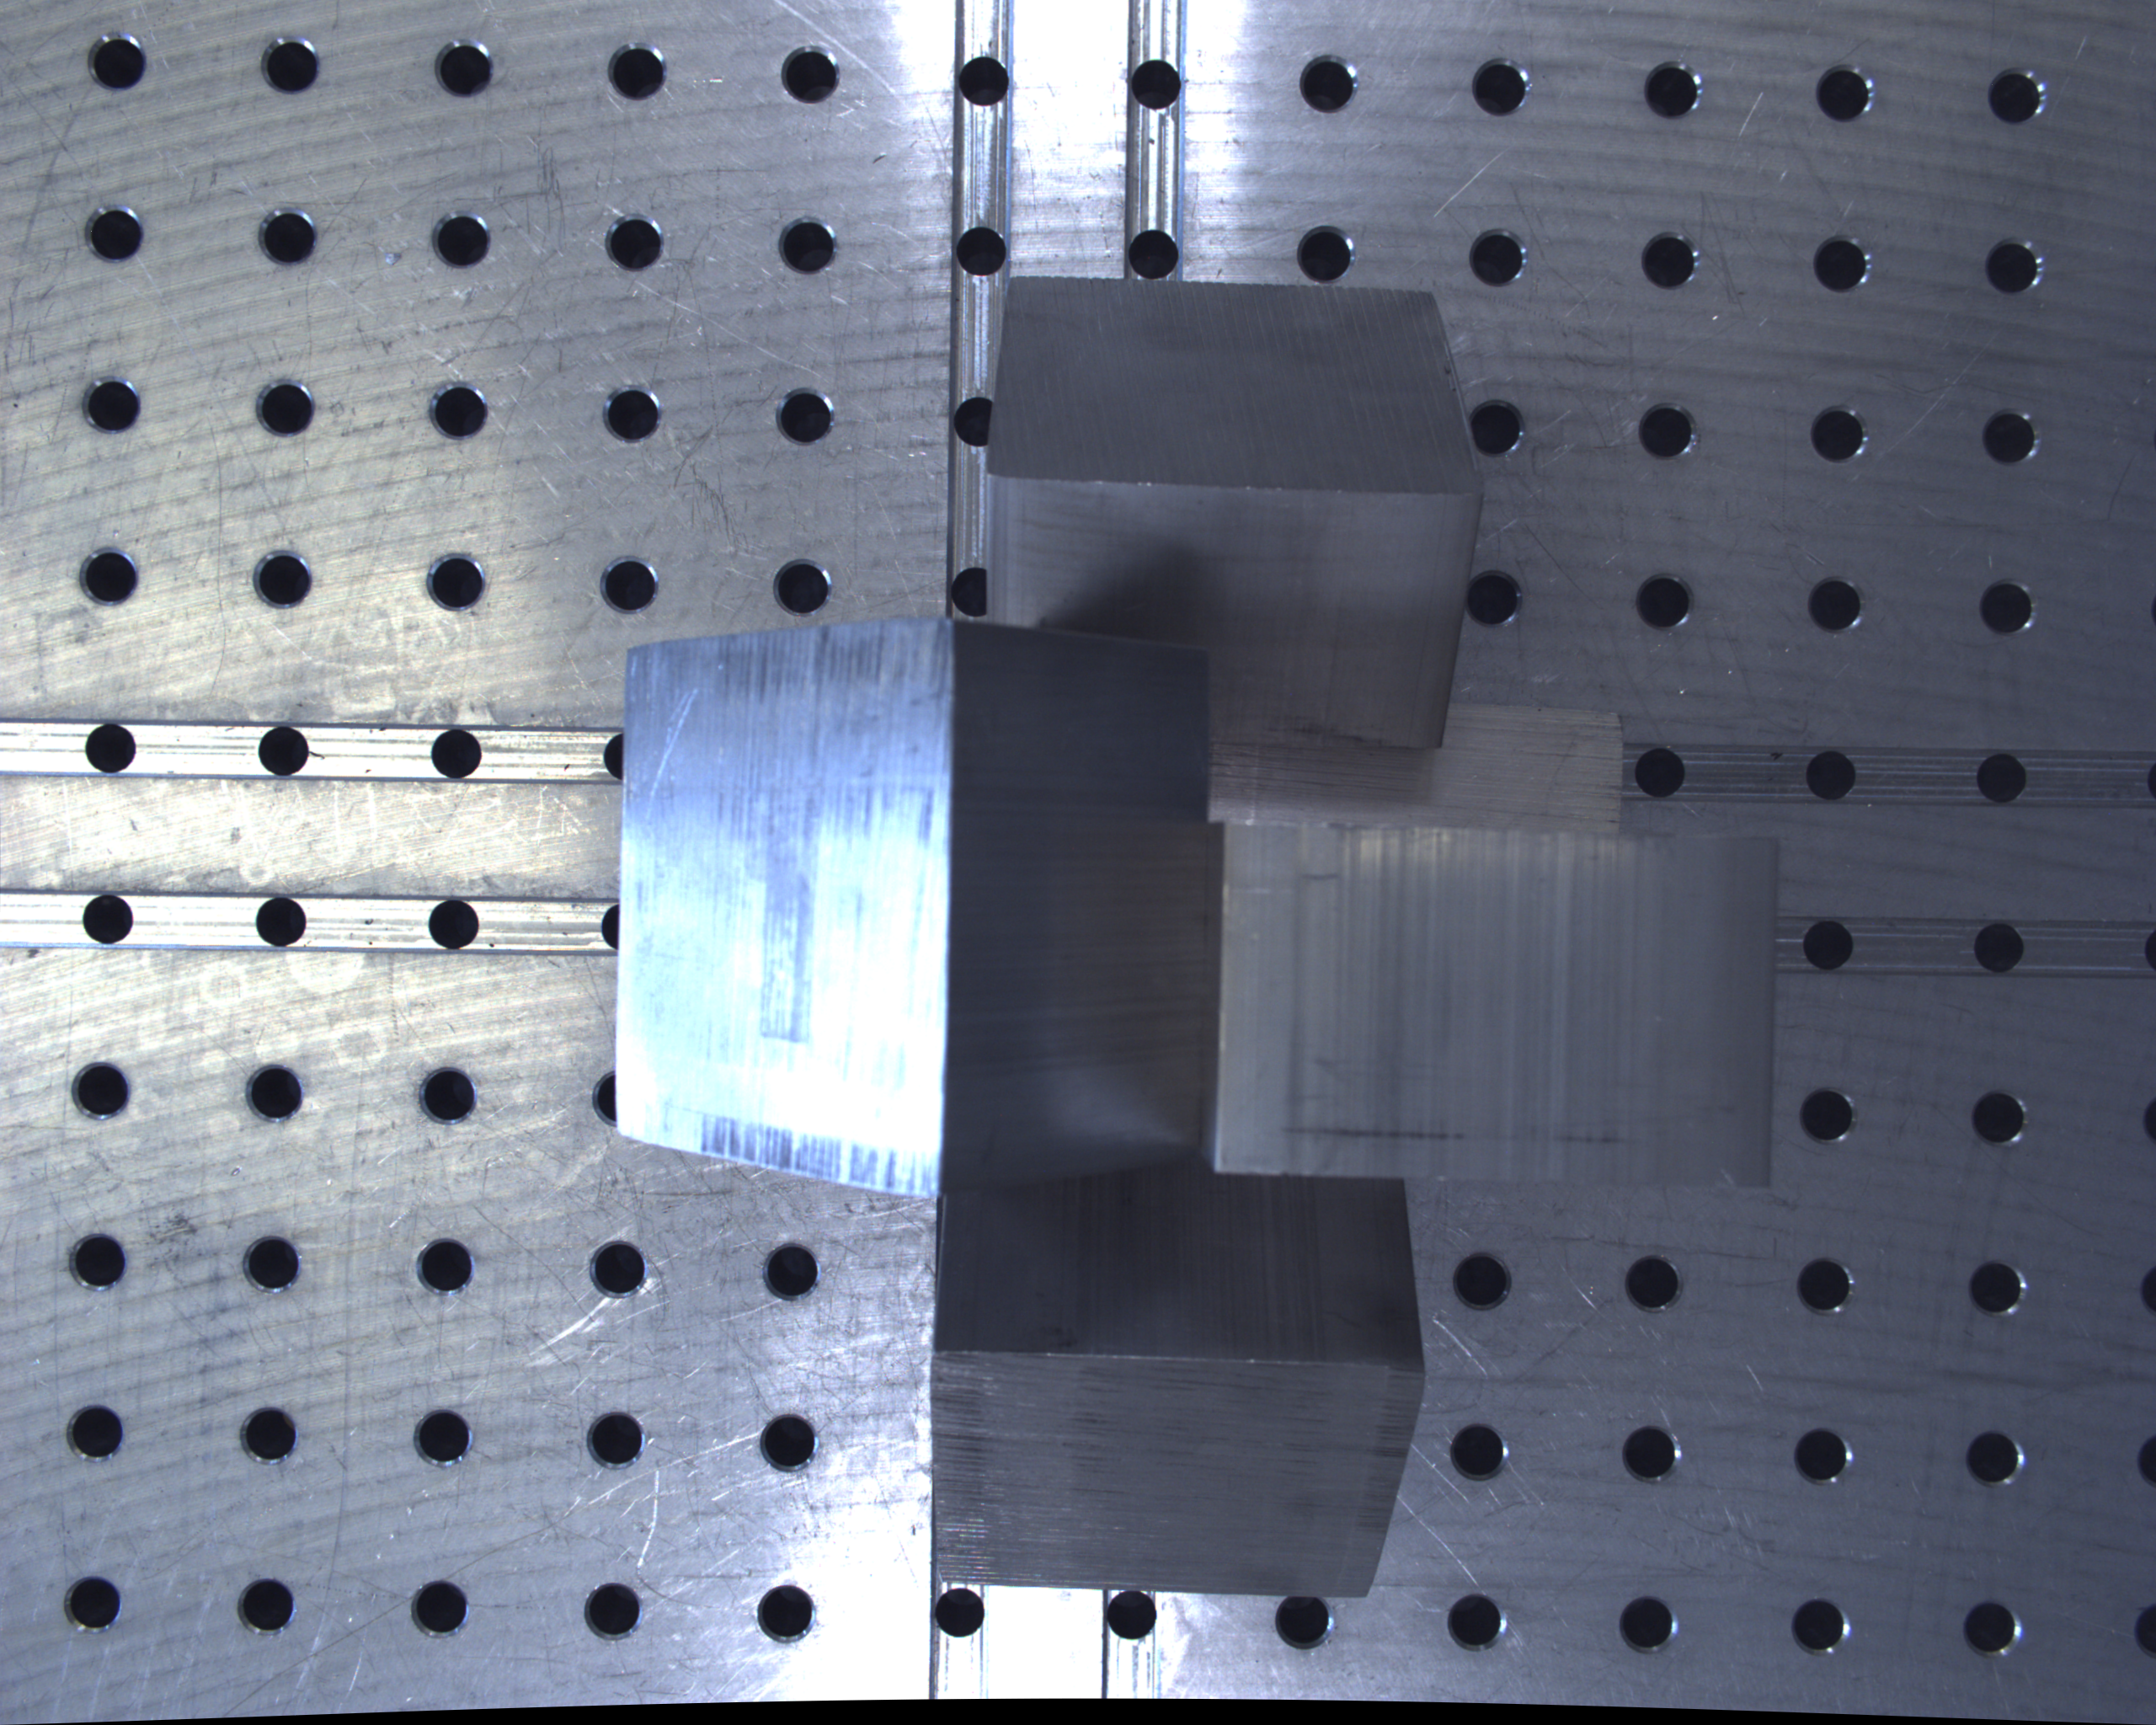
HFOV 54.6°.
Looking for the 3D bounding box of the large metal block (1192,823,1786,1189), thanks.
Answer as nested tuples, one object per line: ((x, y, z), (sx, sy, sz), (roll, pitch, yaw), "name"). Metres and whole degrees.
((0.060, 0.020, 0.336), (0.080, 0.080, 0.050), (2, 90, 0), "large metal block")

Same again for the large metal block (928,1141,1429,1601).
((0.016, 0.091, 0.380), (0.080, 0.050, 0.080), (2, 135, 0), "large metal block")

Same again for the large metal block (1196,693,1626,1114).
((0.057, 0.011, 0.401), (0.080, 0.050, 0.080), (3, 90, 0), "large metal block")

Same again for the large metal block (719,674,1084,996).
((-0.028, 0.006, 0.401), (0.080, 0.050, 0.080), (7, 90, 0), "large metal block")

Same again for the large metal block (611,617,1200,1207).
((-0.029, 0.006, 0.328), (0.080, 0.050, 0.080), (2, 91, 45), "large metal block")

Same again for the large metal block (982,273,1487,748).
((0.025, -0.066, 0.379), (0.080, 0.080, 0.050), (2, 128, 0), "large metal block")
